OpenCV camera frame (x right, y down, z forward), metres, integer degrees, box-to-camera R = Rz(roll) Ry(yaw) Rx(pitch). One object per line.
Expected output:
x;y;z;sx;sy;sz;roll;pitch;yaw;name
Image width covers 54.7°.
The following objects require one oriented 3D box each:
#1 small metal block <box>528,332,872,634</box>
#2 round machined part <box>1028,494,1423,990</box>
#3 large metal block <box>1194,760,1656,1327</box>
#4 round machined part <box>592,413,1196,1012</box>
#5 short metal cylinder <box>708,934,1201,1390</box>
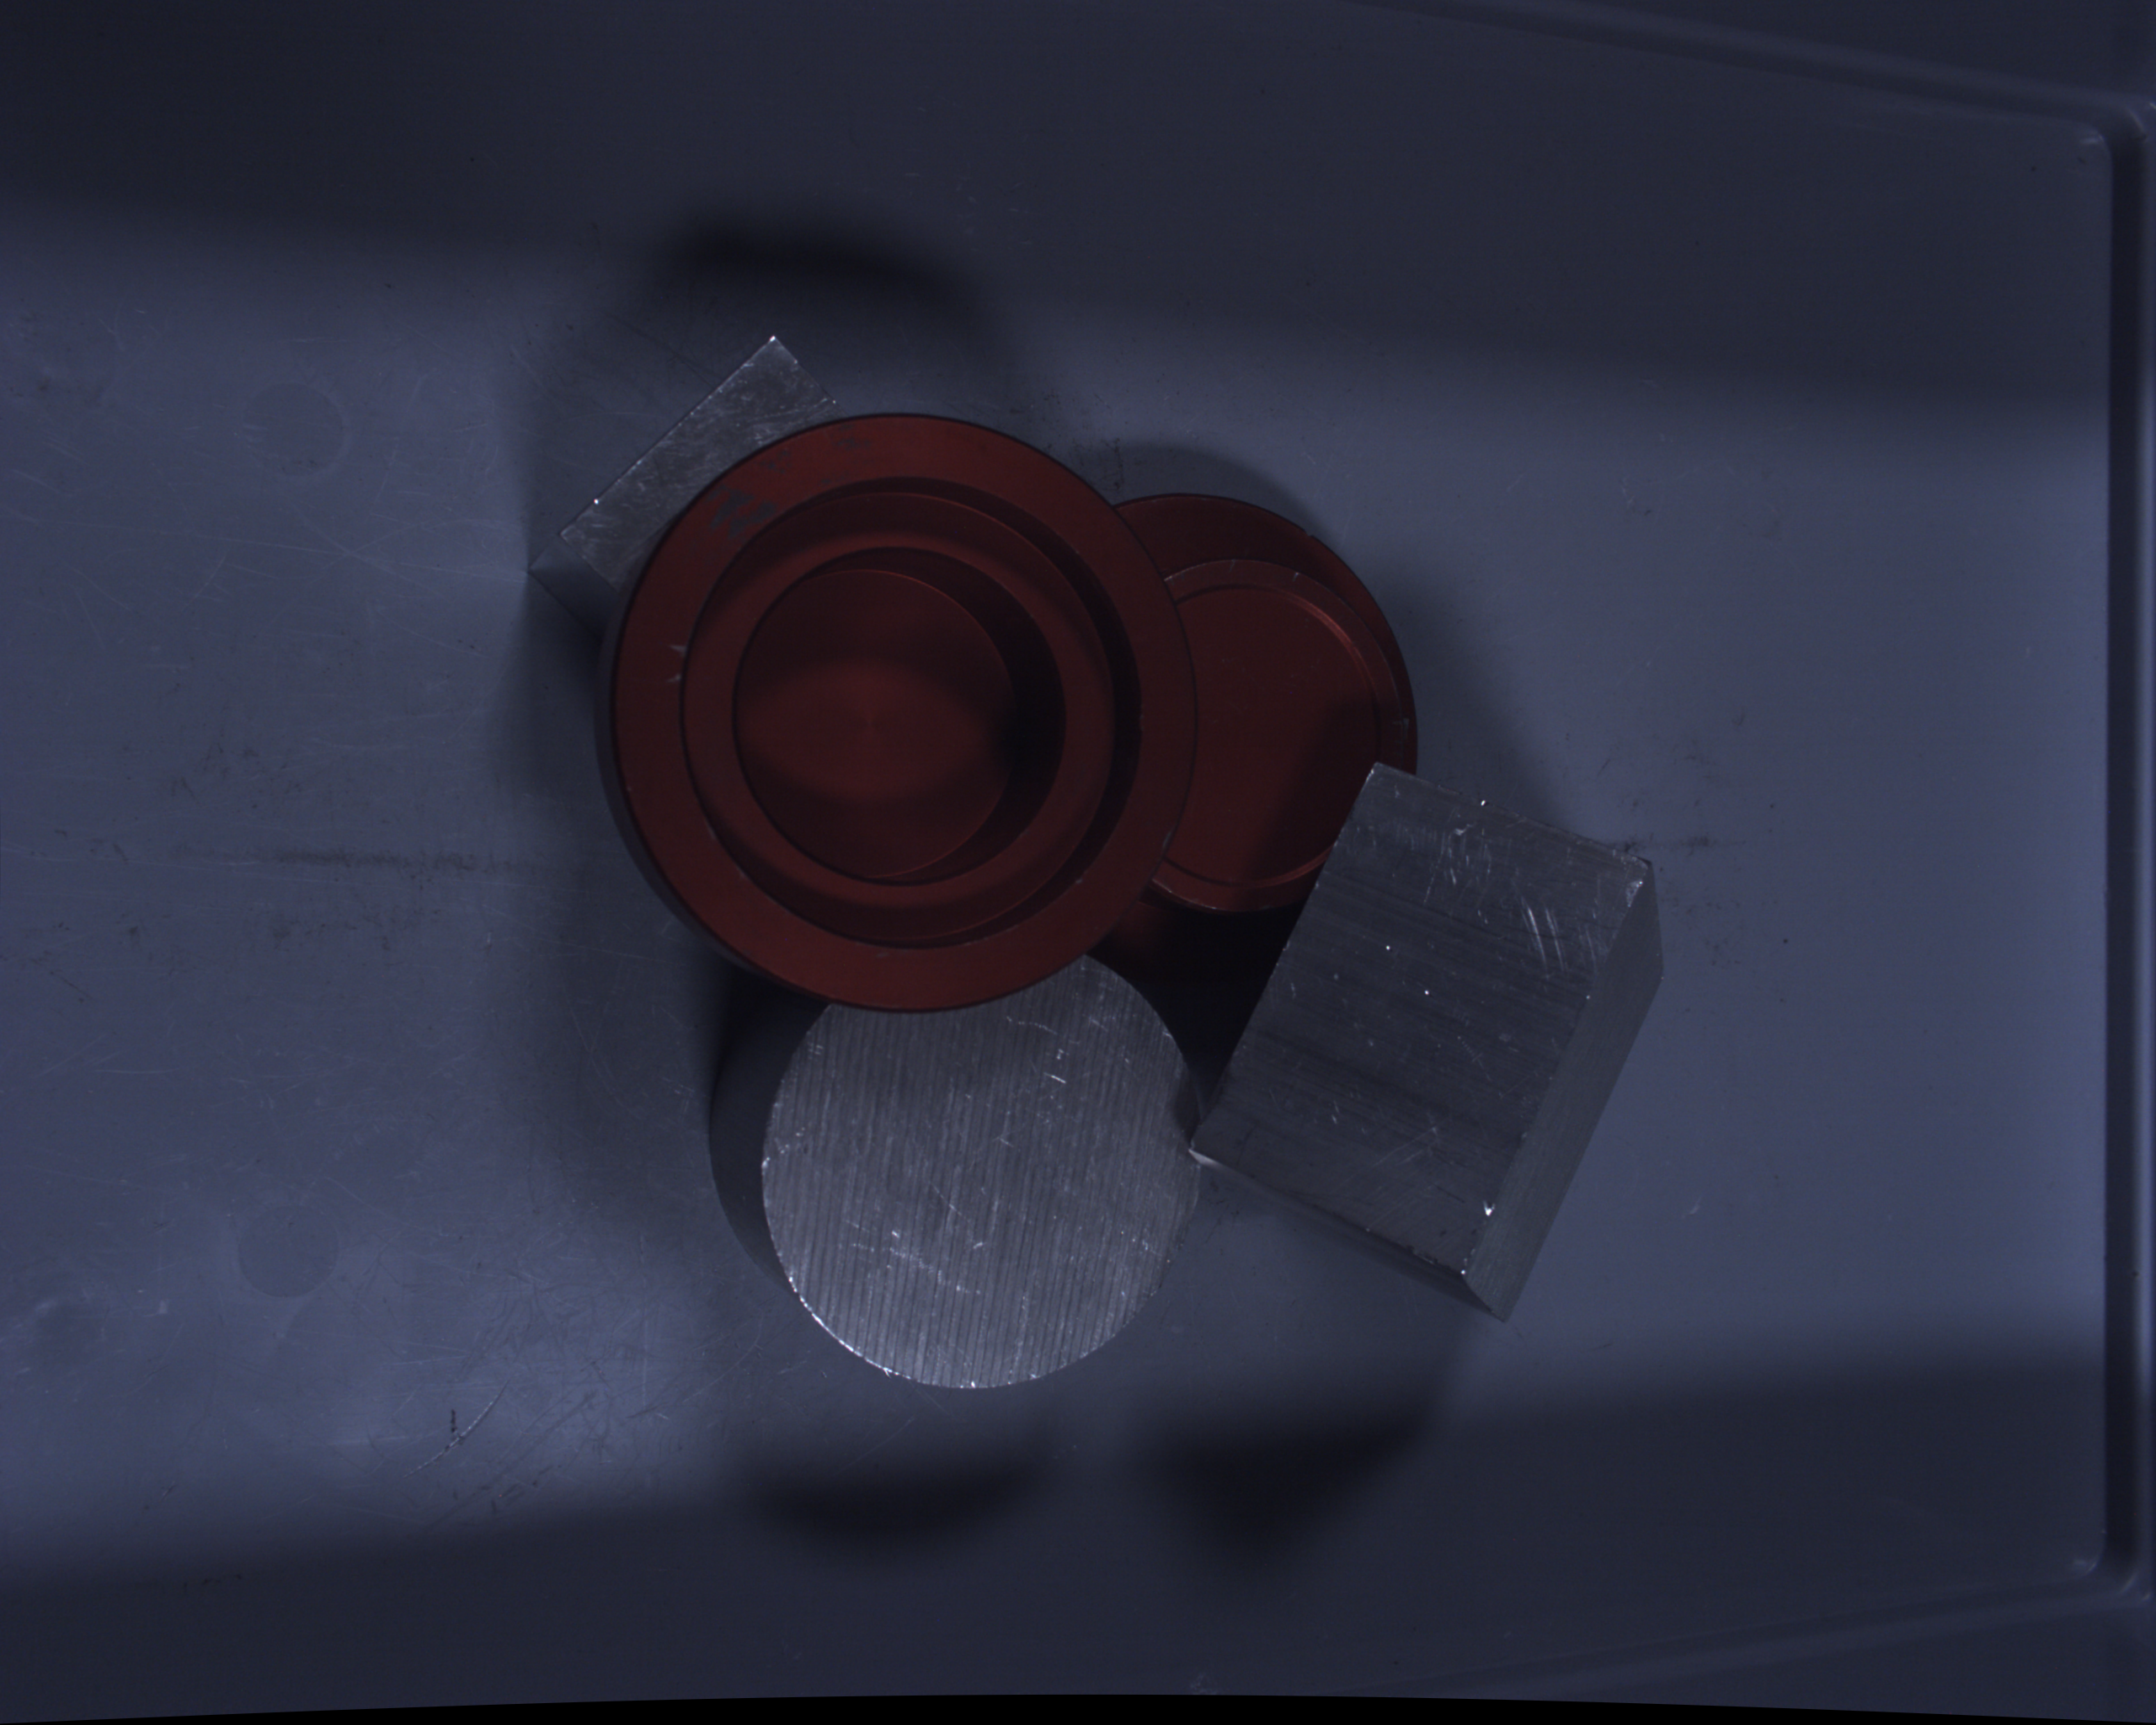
-0.068;-0.063;0.370;0.025;0.050;0.050;46;76;-15;small metal block
0.025;-0.024;0.408;0.099;0.042;0.097;0;90;-21;round machined part
0.071;0.038;0.400;0.050;0.080;0.080;23;79;22;large metal block
-0.033;-0.024;0.357;0.099;0.042;0.097;0;90;-21;round machined part
-0.024;0.052;0.388;0.081;0.050;0.079;0;90;-21;short metal cylinder
